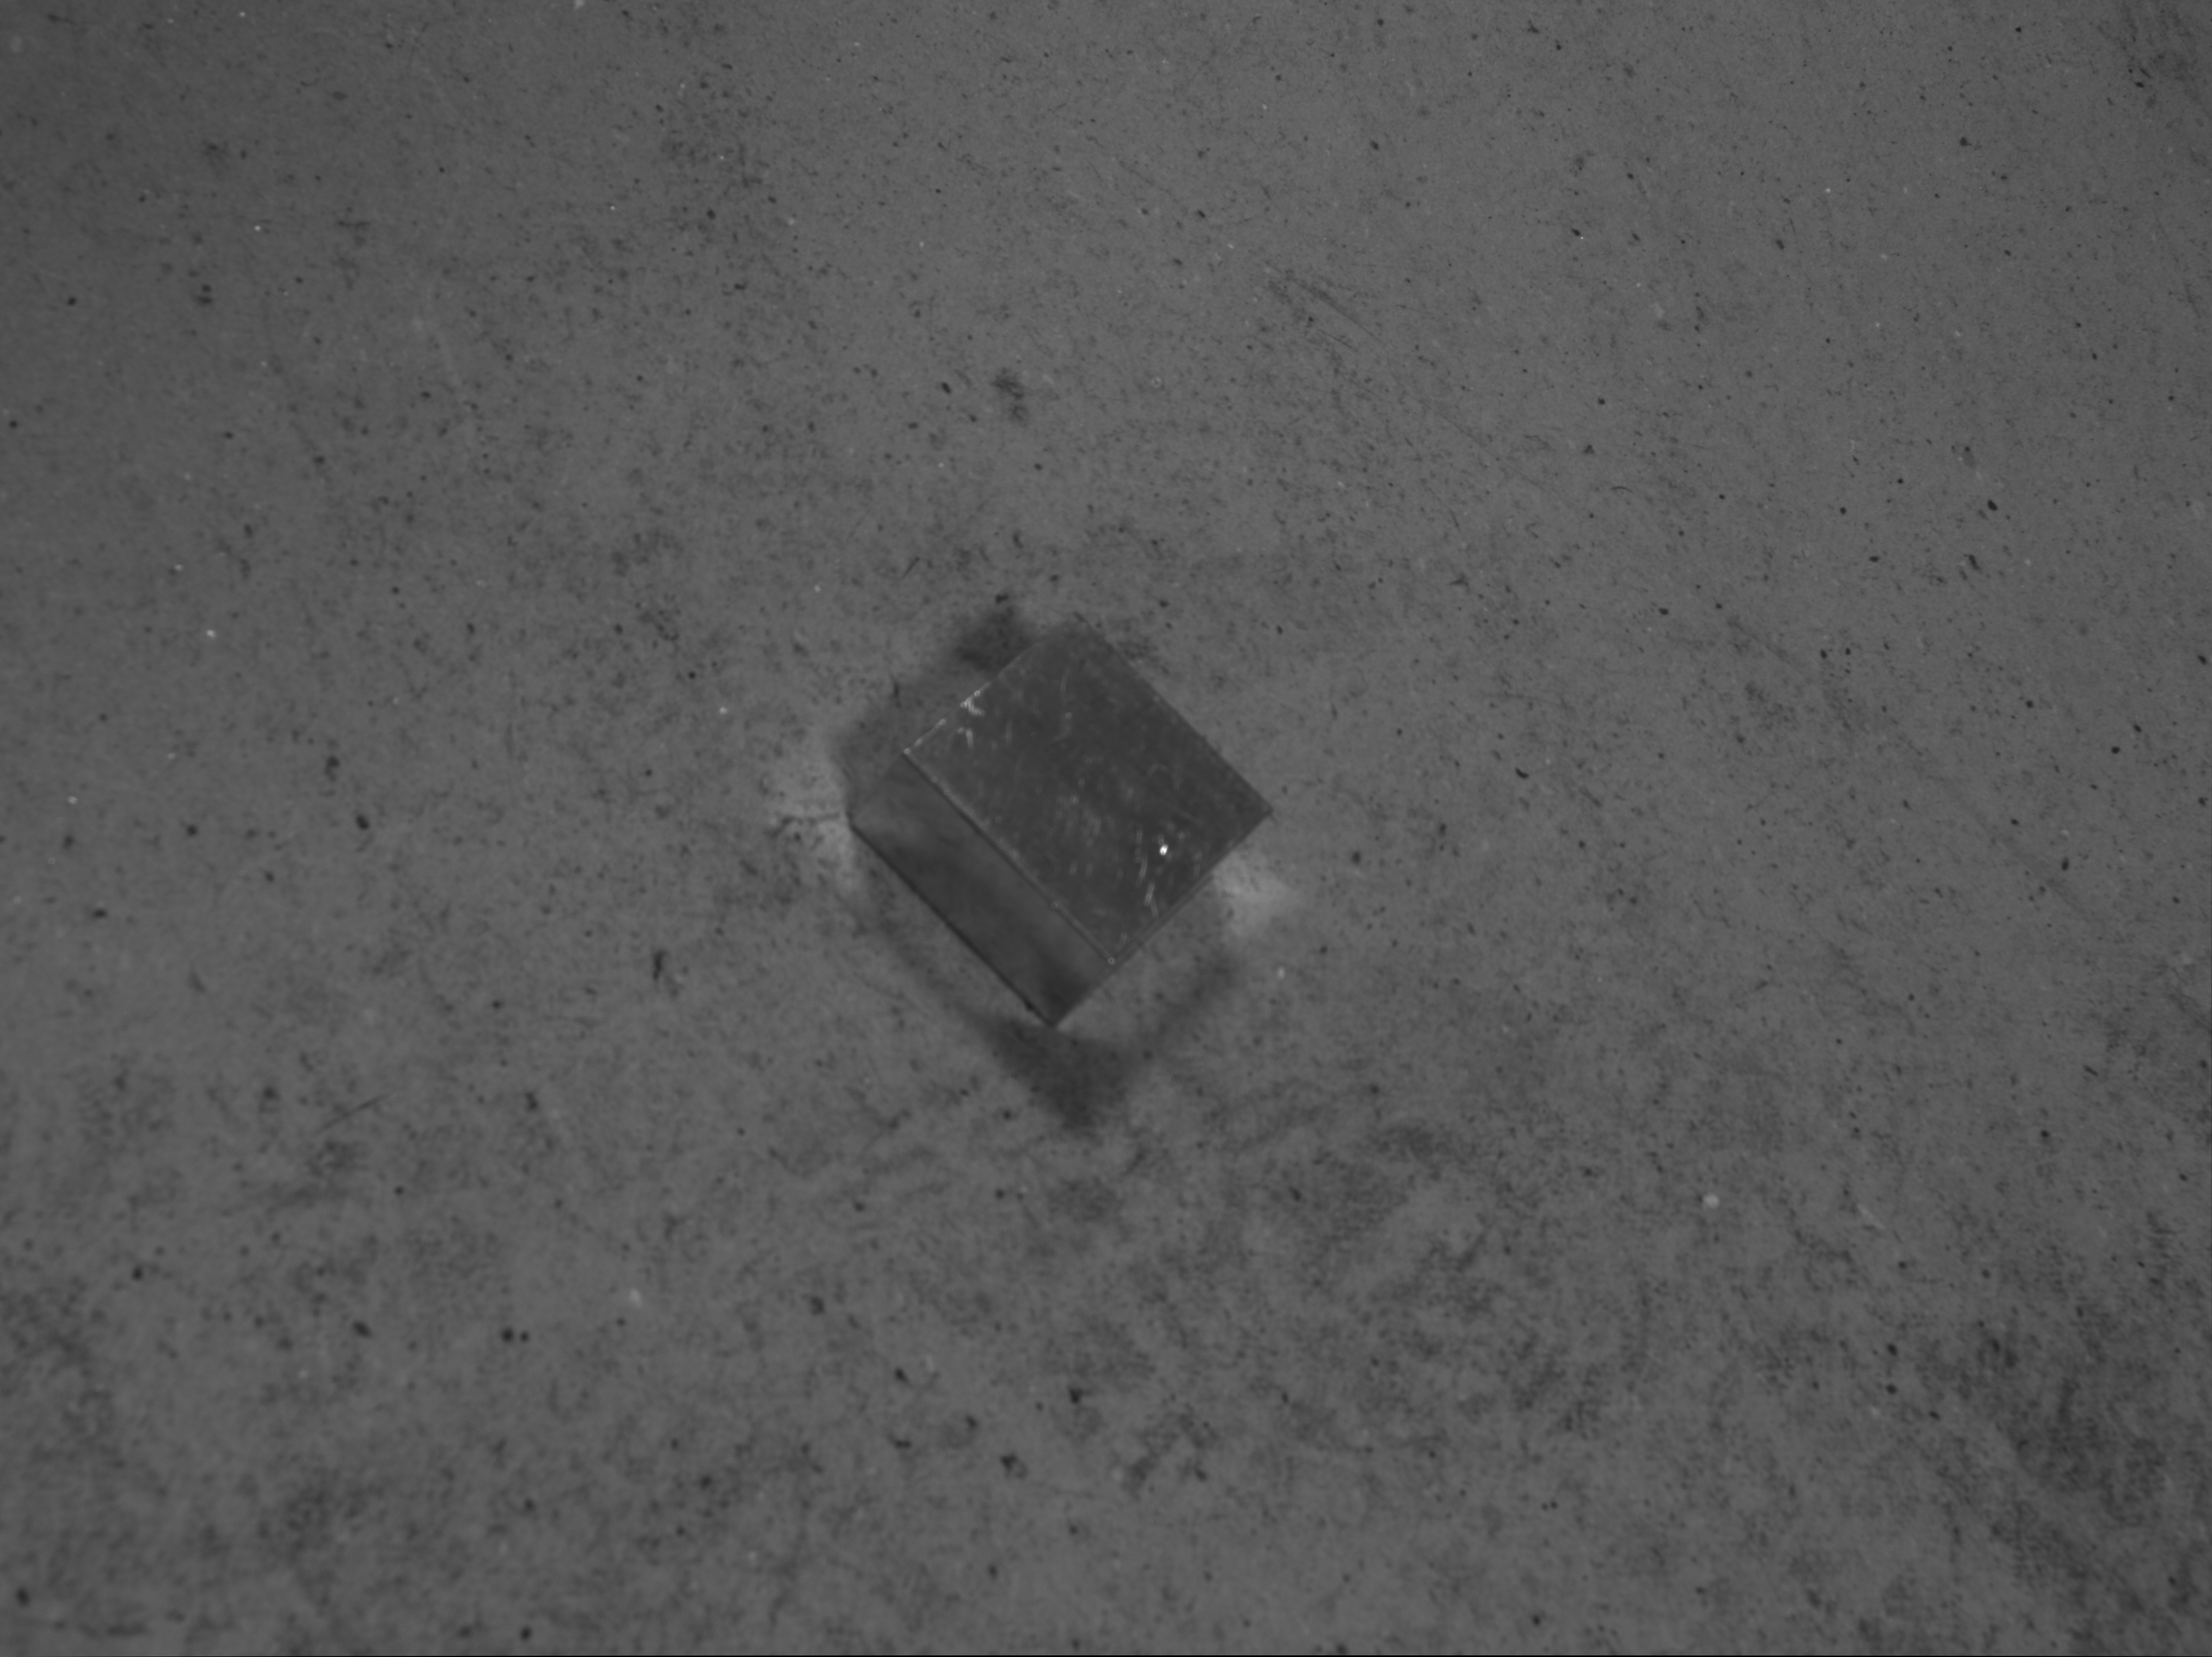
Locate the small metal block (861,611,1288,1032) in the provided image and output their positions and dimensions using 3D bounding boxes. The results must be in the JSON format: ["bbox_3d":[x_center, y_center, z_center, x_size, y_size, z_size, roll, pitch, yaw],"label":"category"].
[{"bbox_3d":[-0.005,-0.002,0.638,0.050,0.025,0.050,45,51,3],"label":"small metal block"}]
